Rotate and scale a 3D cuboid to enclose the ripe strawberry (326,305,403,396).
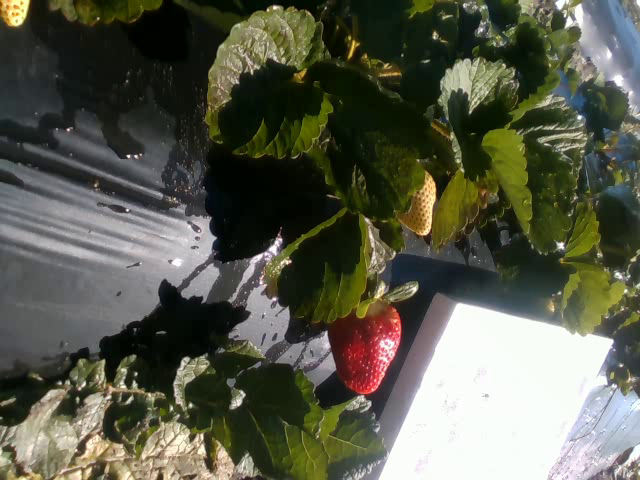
[{"bbox_3d":[0.028,0.067,0.375,0.048,0.069,0.040,-6,18,-37],"label":"ripe strawberry"}]
